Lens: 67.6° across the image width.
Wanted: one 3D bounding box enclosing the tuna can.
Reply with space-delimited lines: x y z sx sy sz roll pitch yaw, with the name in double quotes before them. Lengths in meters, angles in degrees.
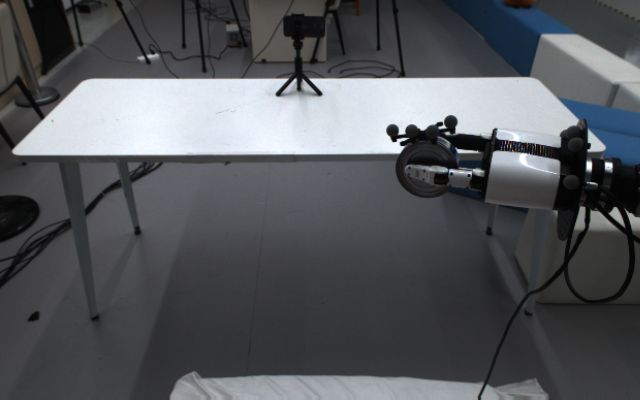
"tuna can" 0.153 -0.049 0.684 0.085 0.085 0.034 13 29 15
